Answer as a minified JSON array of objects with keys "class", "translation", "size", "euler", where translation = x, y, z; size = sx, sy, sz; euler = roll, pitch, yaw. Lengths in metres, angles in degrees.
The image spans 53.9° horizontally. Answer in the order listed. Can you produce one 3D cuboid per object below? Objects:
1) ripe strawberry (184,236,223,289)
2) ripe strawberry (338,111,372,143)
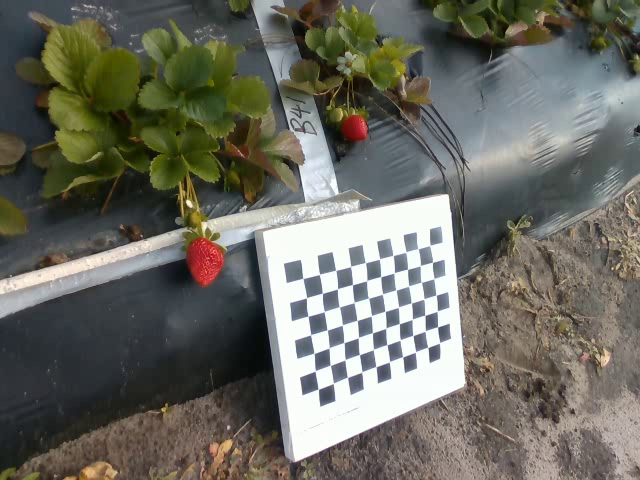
[{"class":"ripe strawberry","translation":[-0.110,0.021,0.589],"size":[0.048,0.052,0.030],"euler":[34,-40,-32]},{"class":"ripe strawberry","translation":[0.045,-0.134,0.741],"size":[0.037,0.030,0.048],"euler":[4,37,-34]}]
